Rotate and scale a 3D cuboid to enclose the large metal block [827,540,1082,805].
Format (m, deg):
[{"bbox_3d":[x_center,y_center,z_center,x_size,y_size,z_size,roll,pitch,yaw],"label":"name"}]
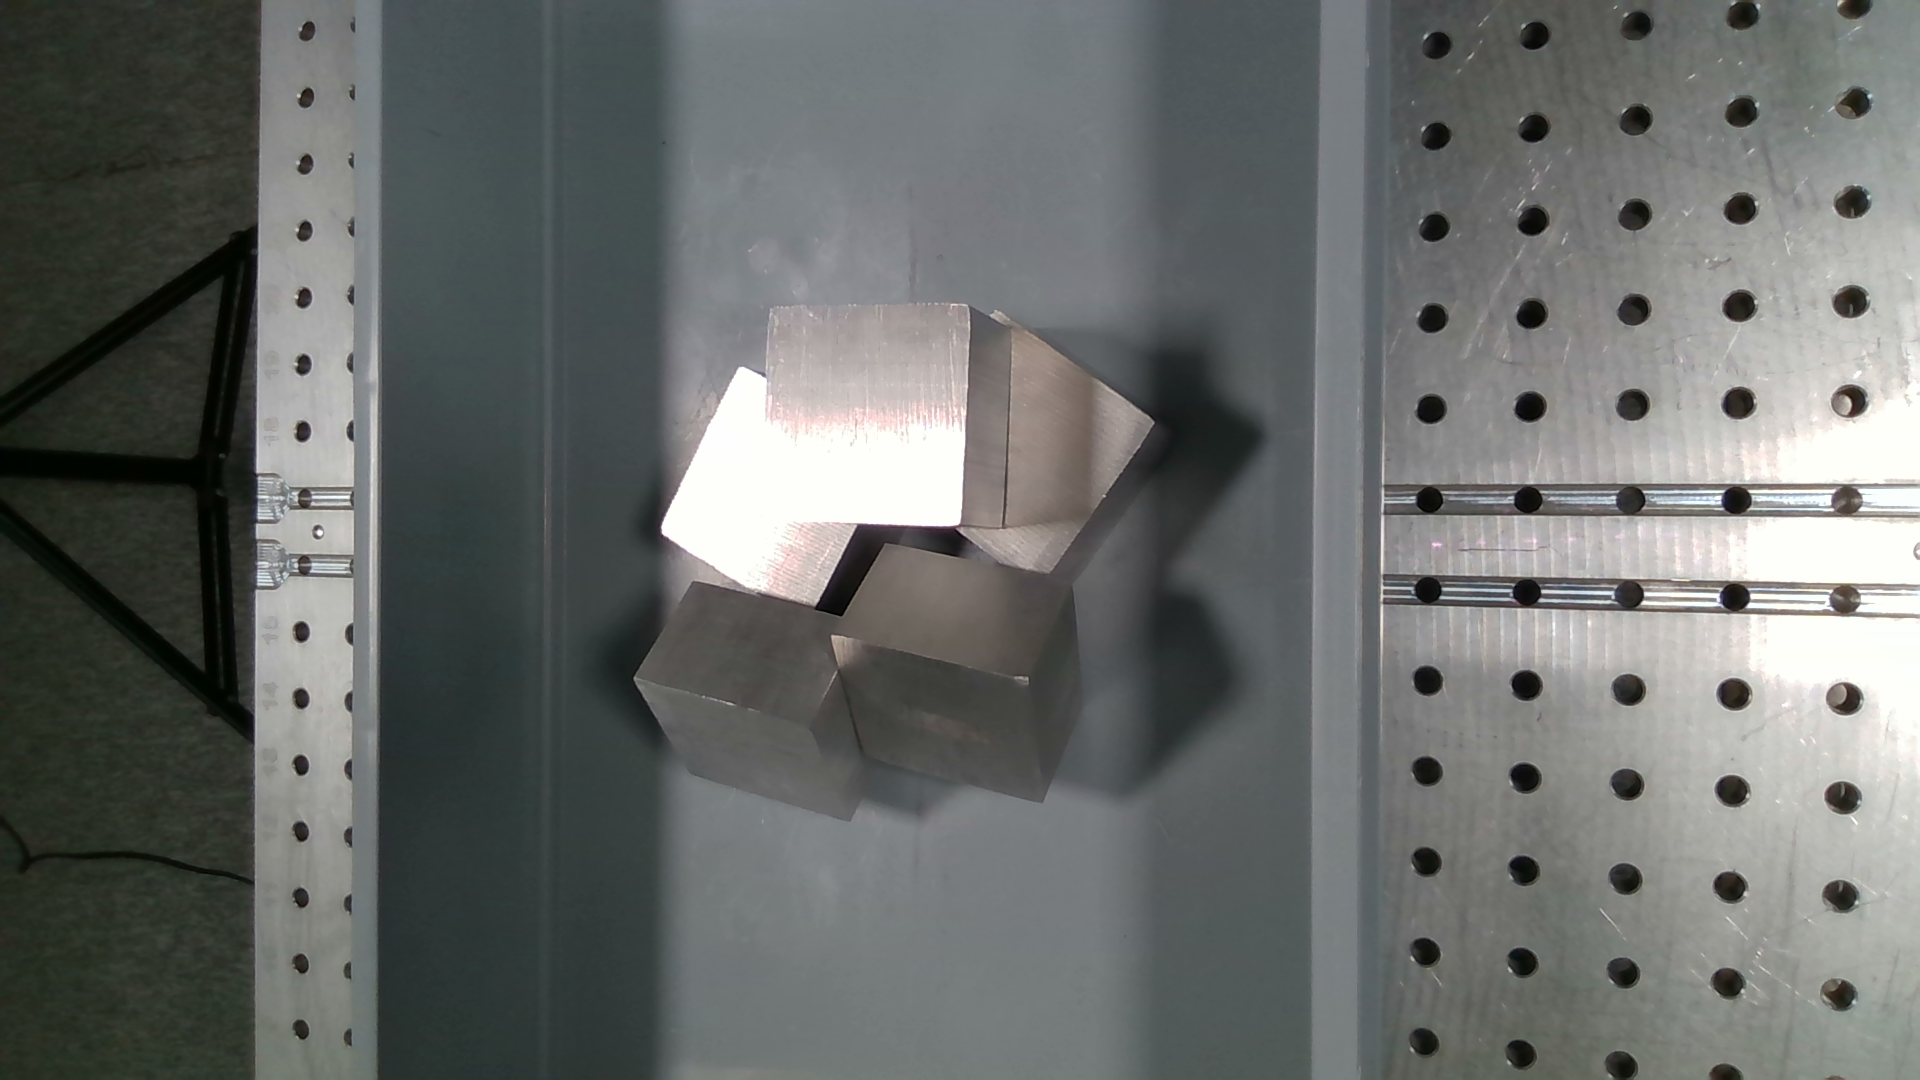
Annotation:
[{"bbox_3d":[0.001,0.053,0.549,0.080,0.050,0.080,12,139,20],"label":"large metal block"}]

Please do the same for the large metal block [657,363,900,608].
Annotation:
[{"bbox_3d":[-0.070,-0.020,0.594,0.080,0.050,0.080,31,101,17],"label":"large metal block"}]

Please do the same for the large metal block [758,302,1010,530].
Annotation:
[{"bbox_3d":[-0.028,-0.046,0.526,0.080,0.050,0.080,3,90,19],"label":"large metal block"}]

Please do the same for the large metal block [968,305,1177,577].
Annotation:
[{"bbox_3d":[0.031,-0.036,0.560,0.080,0.050,0.080,38,103,16],"label":"large metal block"}]

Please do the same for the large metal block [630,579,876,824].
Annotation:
[{"bbox_3d":[-0.079,0.068,0.578,0.080,0.080,0.050,13,55,20],"label":"large metal block"}]
